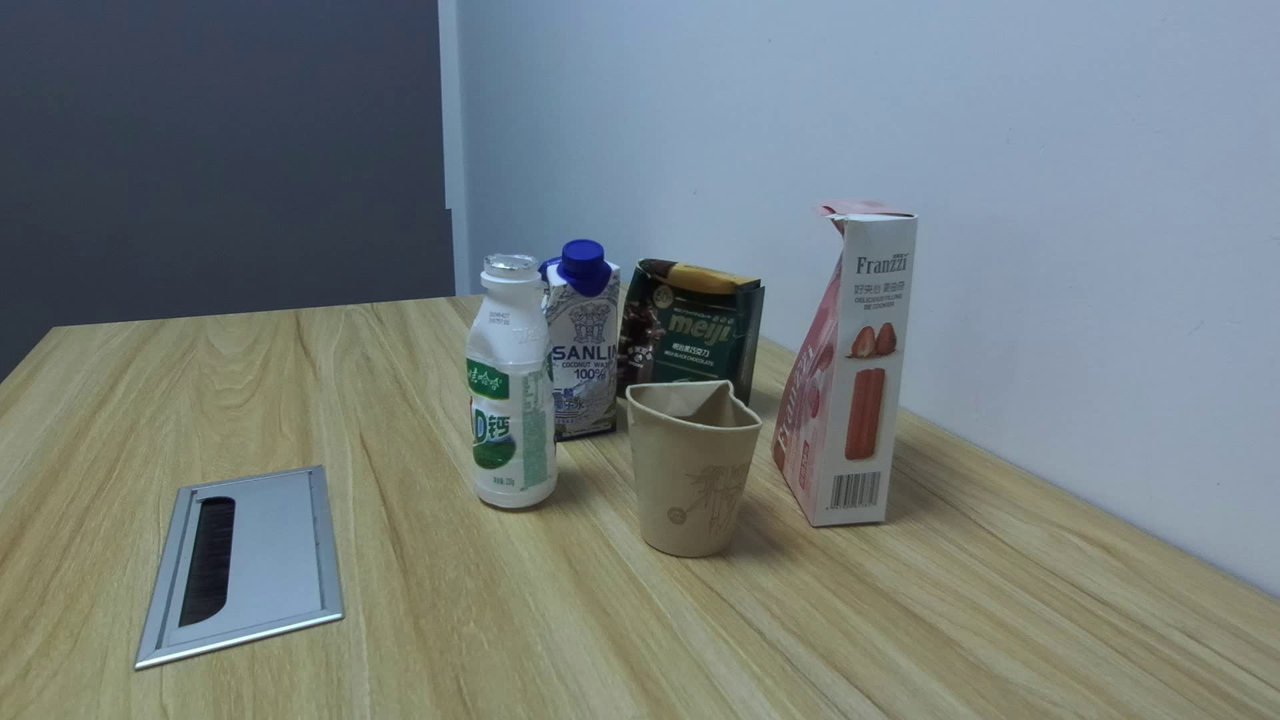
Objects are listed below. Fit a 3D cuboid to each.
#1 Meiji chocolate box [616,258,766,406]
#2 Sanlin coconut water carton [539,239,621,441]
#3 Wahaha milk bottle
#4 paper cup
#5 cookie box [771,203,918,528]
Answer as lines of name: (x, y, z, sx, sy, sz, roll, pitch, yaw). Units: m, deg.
Meiji chocolate box: (0.039, -0.018, 0.582, 0.113, 0.110, 0.058, 14, 20, 29)
Sanlin coconut water carton: (-0.049, -0.017, 0.514, 0.061, 0.143, 0.069, -7, 22, -23)
Wahaha milk bottle: (-0.074, 0.013, 0.421, 0.055, 0.149, 0.055, 3, 19, -1)
paper cup: (0.026, 0.061, 0.392, 0.066, 0.084, 0.071, -1, 20, -10)
cookie box: (0.124, -0.003, 0.435, 0.055, 0.184, 0.118, 3, 19, 1)
